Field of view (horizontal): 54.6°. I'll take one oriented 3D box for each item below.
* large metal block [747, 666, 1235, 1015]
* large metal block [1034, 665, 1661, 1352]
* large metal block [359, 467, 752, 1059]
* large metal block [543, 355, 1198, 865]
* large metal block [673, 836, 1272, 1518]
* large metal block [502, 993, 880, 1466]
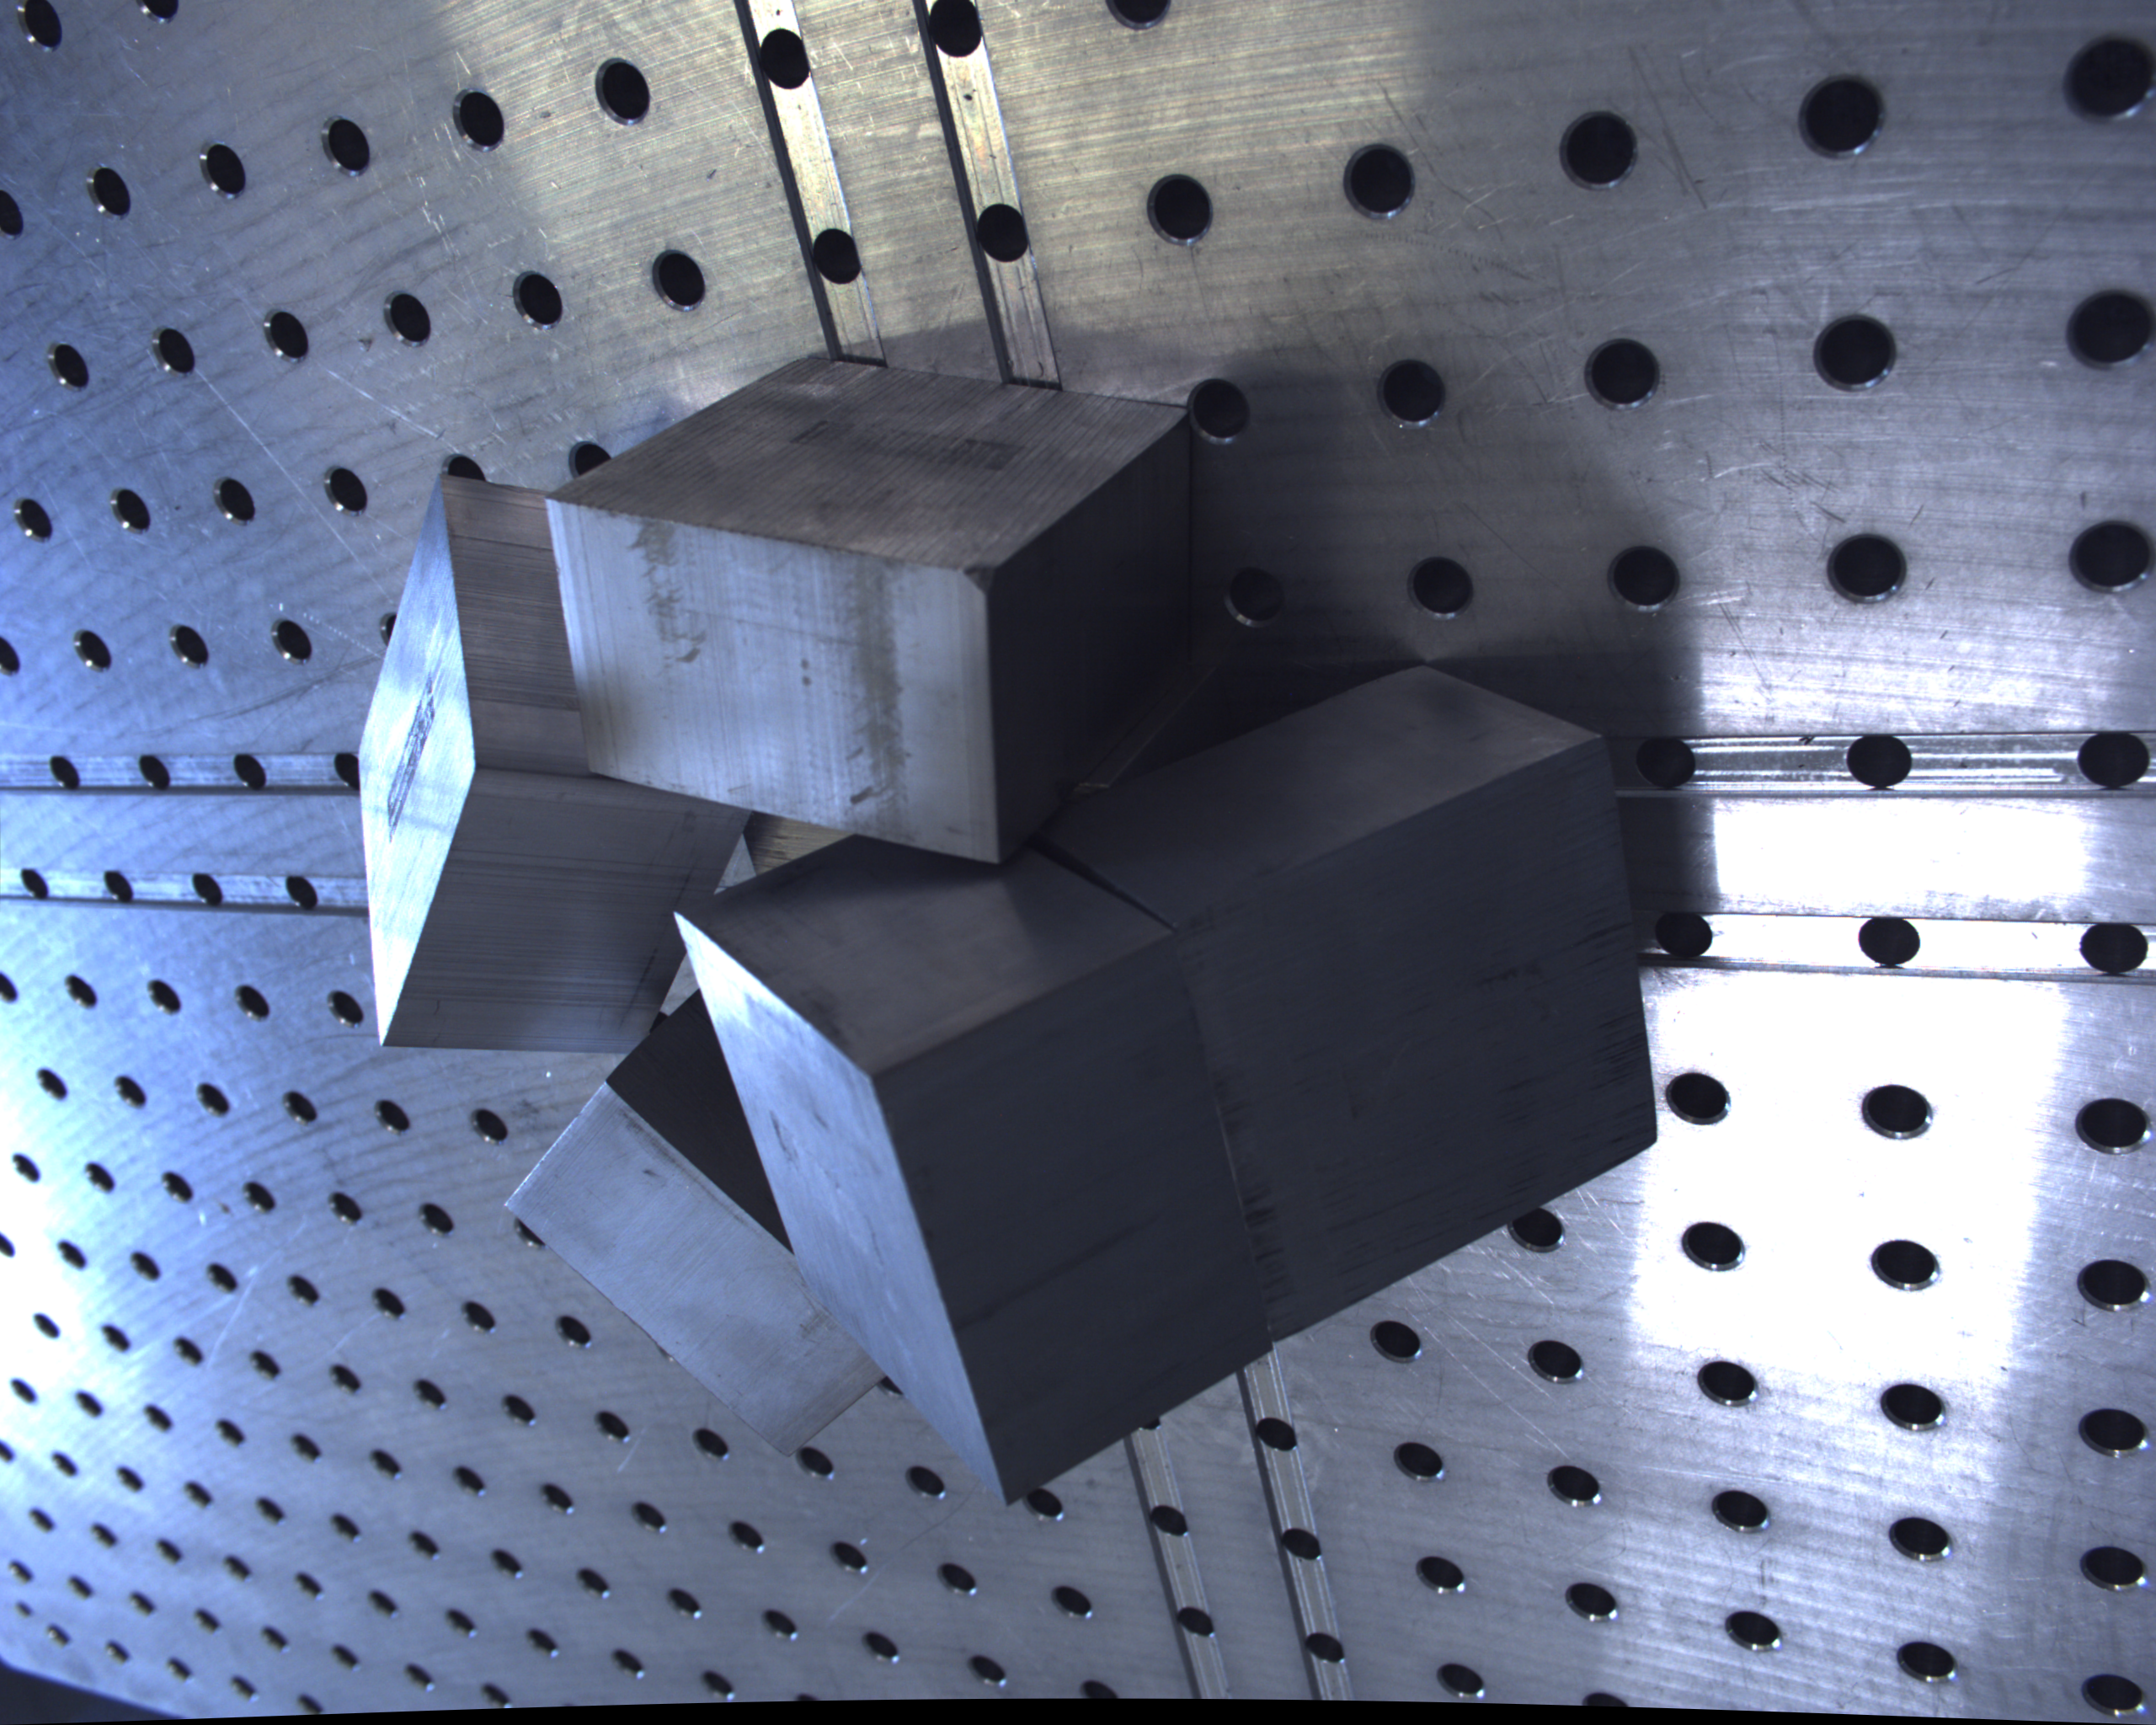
[{"bbox_3d":[-0.011,0.009,0.407,0.080,0.050,0.080,1,119,28],"label":"large metal block"},{"bbox_3d":[0.046,0.022,0.354,0.050,0.081,0.080,33,141,58],"label":"large metal block"},{"bbox_3d":[-0.106,-0.018,0.413,0.050,0.080,0.080,5,136,-29],"label":"large metal block"},{"bbox_3d":[-0.032,-0.048,0.364,0.080,0.080,0.050,13,124,21],"label":"large metal block"},{"bbox_3d":[-0.018,0.044,0.343,0.080,0.050,0.080,28,137,56],"label":"large metal block"},{"bbox_3d":[-0.059,0.065,0.446,0.080,0.080,0.050,42,129,-2],"label":"large metal block"}]
